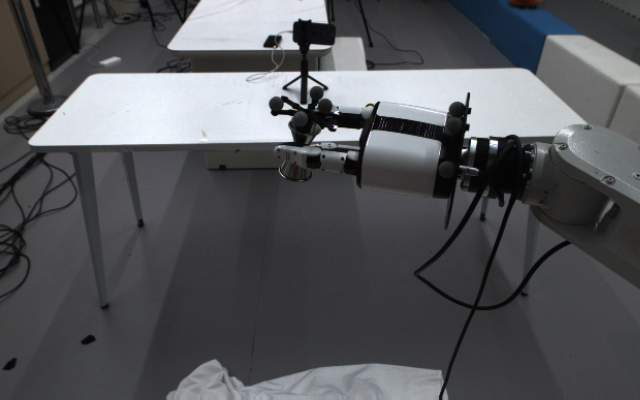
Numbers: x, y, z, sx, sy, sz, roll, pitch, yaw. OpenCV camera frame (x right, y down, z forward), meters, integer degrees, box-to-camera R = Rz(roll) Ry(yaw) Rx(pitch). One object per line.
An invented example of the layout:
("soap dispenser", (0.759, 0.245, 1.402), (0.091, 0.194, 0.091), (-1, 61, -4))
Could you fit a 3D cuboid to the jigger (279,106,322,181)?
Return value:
("jigger", (-0.025, -0.062, 0.604), (0.043, 0.071, 0.043), (10, 36, -7))
